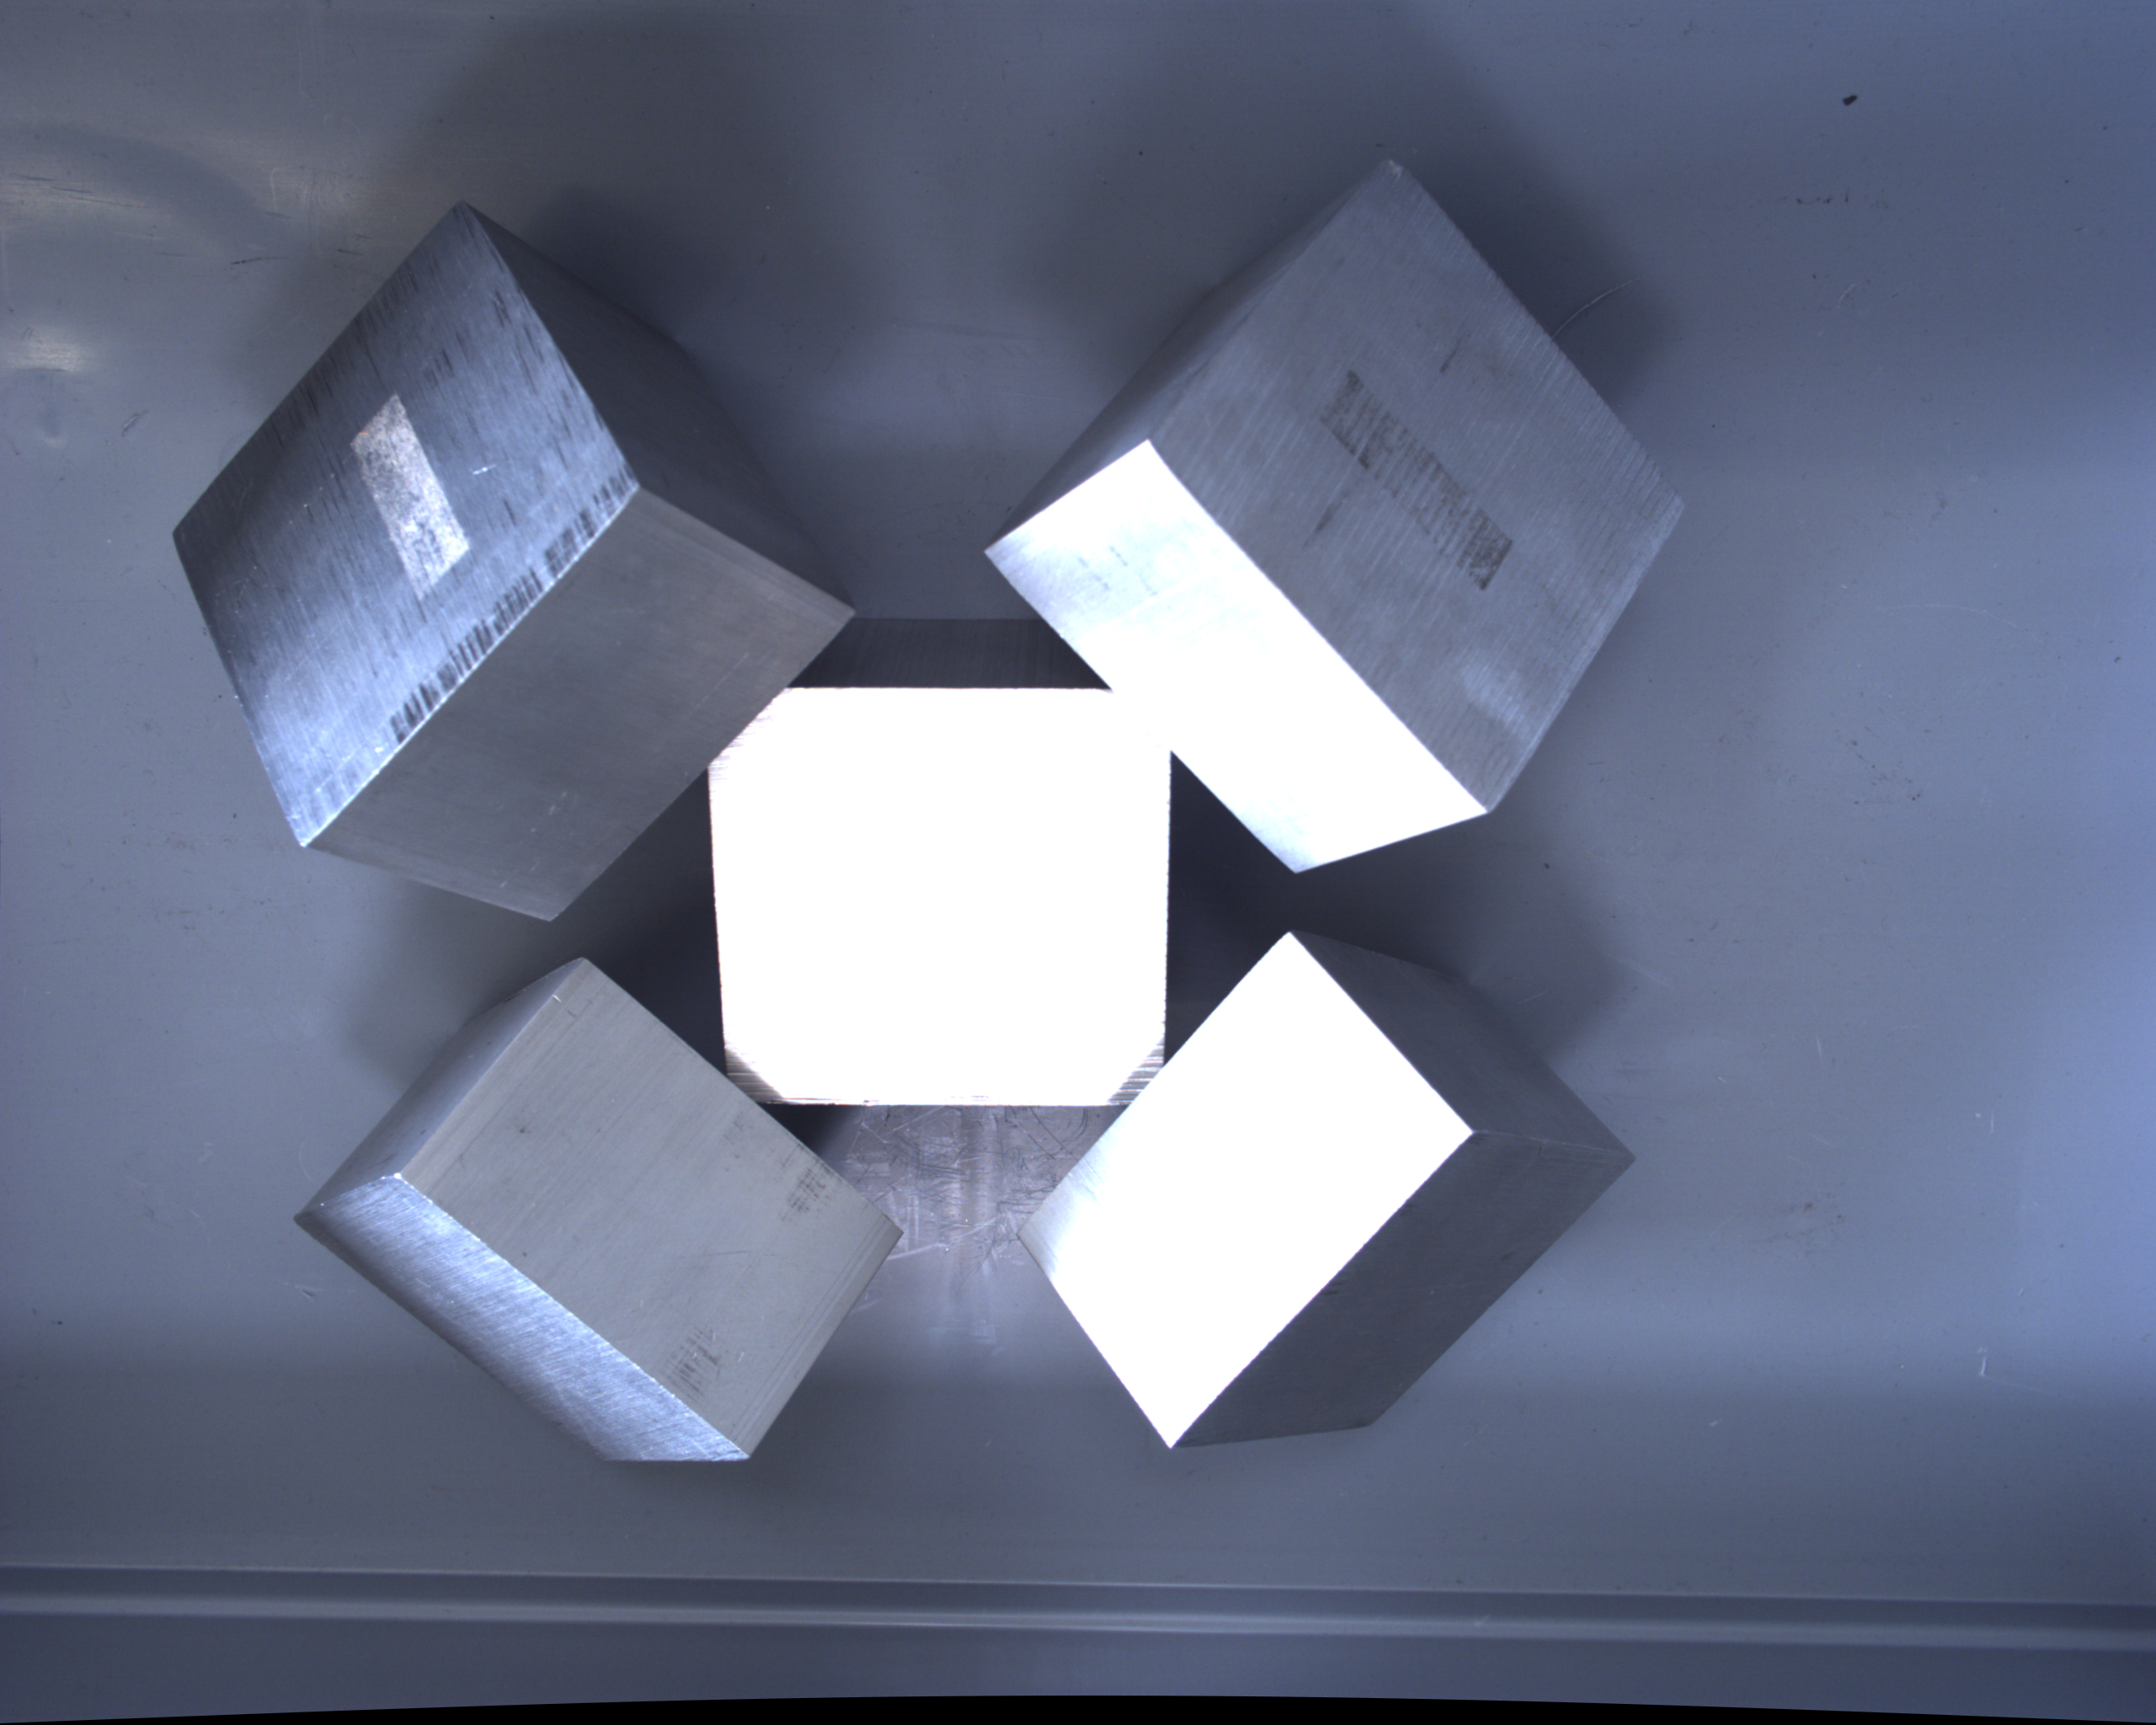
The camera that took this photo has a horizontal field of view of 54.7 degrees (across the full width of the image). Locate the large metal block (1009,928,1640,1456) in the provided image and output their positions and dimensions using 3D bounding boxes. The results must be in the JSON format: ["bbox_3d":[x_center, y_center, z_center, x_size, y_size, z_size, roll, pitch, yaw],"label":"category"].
[{"bbox_3d":[0.048,0.064,0.397,0.080,0.050,0.080,-50,148,15],"label":"large metal block"}]

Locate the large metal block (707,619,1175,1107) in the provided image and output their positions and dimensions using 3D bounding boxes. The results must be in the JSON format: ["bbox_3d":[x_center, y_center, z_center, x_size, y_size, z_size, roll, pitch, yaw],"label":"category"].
[{"bbox_3d":[-0.024,-0.001,0.395,0.081,0.050,0.079,1,110,-1],"label":"large metal block"}]

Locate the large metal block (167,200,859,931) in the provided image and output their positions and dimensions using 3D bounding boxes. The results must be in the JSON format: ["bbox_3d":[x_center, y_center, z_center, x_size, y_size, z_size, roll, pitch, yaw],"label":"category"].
[{"bbox_3d":[-0.097,-0.049,0.353,0.080,0.080,0.050,-44,148,14],"label":"large metal block"}]

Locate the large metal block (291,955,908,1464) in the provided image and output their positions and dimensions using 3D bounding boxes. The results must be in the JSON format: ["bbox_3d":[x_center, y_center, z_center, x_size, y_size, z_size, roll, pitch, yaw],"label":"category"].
[{"bbox_3d":[-0.093,0.070,0.399,0.080,0.050,0.080,44,148,-15],"label":"large metal block"}]

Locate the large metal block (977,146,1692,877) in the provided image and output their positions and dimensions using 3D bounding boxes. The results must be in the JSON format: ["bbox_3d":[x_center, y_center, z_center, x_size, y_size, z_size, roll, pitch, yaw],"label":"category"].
[{"bbox_3d":[0.045,-0.057,0.353,0.080,0.050,0.080,45,61,-14],"label":"large metal block"}]
